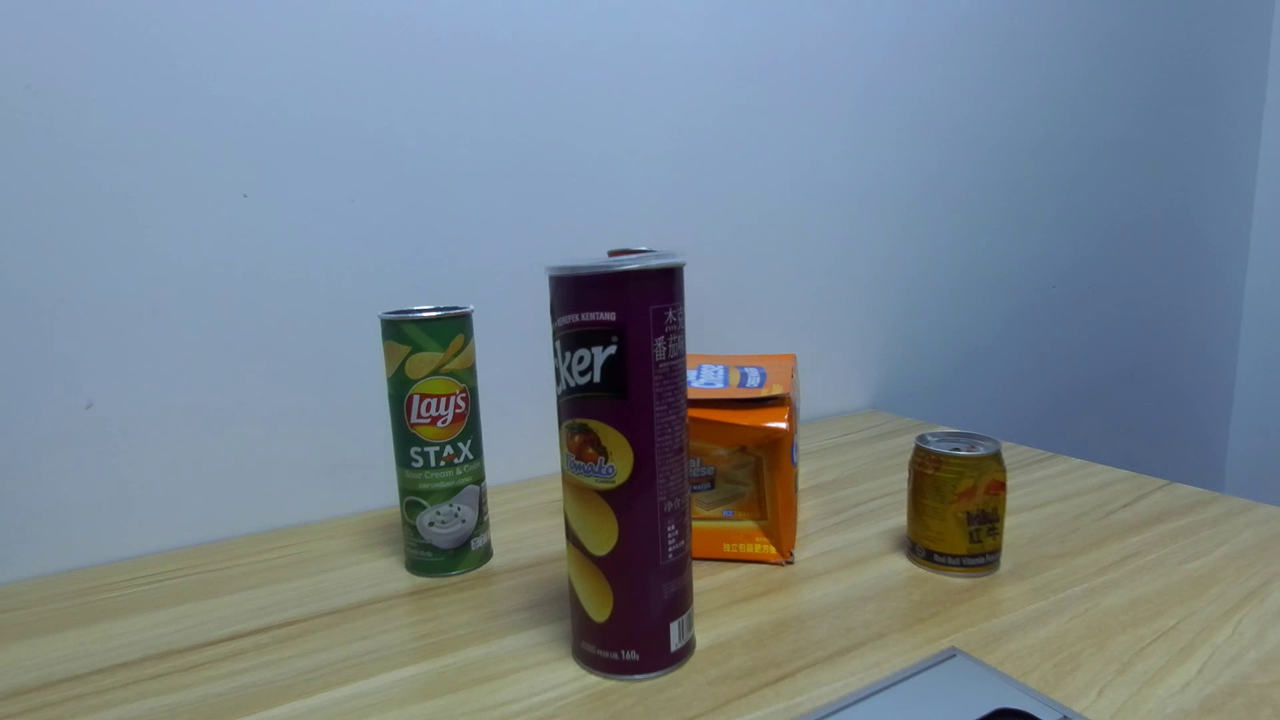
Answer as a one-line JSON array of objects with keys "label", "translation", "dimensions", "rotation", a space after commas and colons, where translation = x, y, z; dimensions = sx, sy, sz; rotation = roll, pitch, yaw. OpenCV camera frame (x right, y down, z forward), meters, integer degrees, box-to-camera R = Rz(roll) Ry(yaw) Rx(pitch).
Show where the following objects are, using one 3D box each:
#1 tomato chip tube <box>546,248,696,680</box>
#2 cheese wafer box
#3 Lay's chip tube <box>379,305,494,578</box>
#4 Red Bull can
[{"label": "tomato chip tube", "translation": [-0.007, 0.061, 0.414], "dimensions": [0.078, 0.233, 0.078], "rotation": [-2, 9, 1]}, {"label": "cheese wafer box", "translation": [0.066, 0.072, 0.630], "dimensions": [0.149, 0.137, 0.227], "rotation": [1, 9, 13]}, {"label": "Lay's chip tube", "translation": [-0.157, 0.061, 0.554], "dimensions": [0.071, 0.202, 0.071], "rotation": [-2, 9, 1]}, {"label": "Red Bull can", "translation": [0.233, 0.105, 0.523], "dimensions": [0.069, 0.092, 0.069], "rotation": [-2, 8, 1]}]
